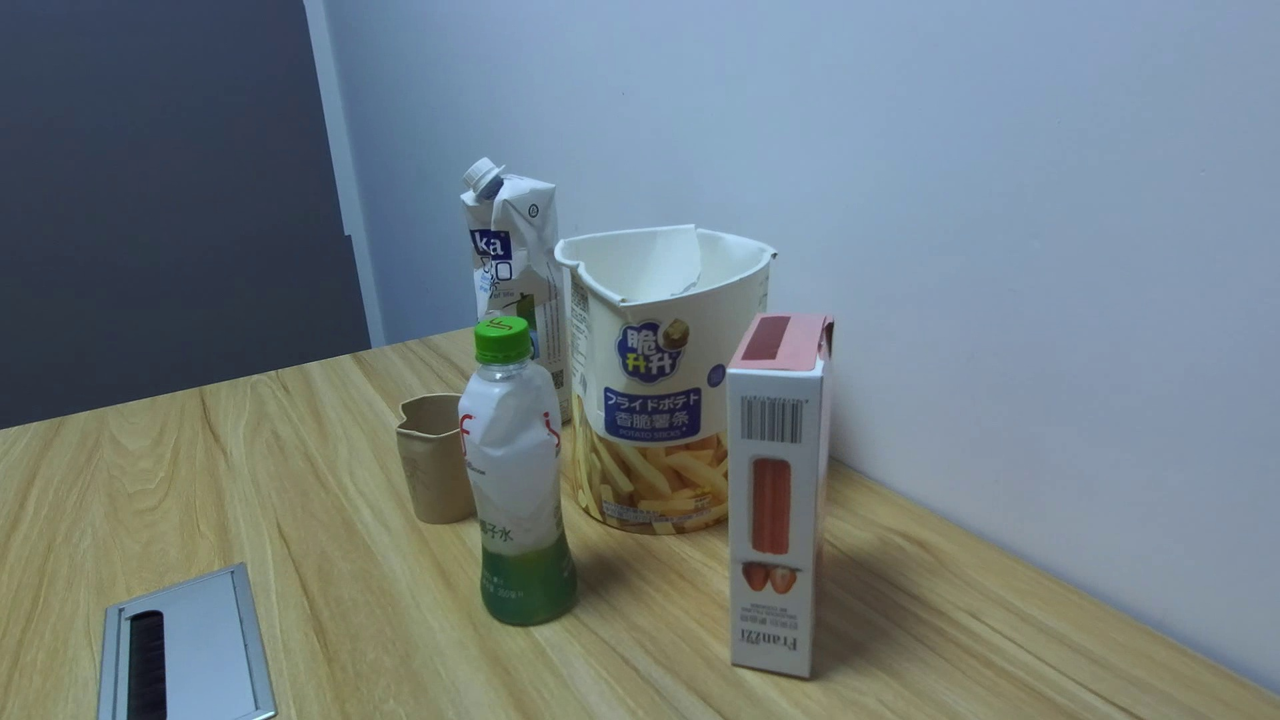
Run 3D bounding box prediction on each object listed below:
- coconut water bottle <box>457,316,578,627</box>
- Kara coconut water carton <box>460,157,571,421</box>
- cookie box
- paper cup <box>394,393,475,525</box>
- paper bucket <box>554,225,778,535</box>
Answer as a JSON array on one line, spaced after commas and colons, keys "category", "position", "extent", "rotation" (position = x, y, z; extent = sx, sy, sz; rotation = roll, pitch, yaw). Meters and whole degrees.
[{"category": "coconut water bottle", "position": [-0.075, 0.067, 0.430], "extent": [0.069, 0.186, 0.069], "rotation": [-3, 23, 1]}, {"category": "Kara coconut water carton", "position": [-0.114, -0.058, 0.658], "extent": [0.079, 0.255, 0.083], "rotation": [-18, 26, -32]}, {"category": "cookie box", "position": [0.083, 0.071, 0.406], "extent": [0.048, 0.187, 0.105], "rotation": [4, 22, 17]}, {"category": "paper cup", "position": [-0.154, 0.079, 0.557], "extent": [0.073, 0.081, 0.069], "rotation": [7, 22, 20]}, {"category": "paper bucket", "position": [0.017, 0.009, 0.550], "extent": [0.146, 0.197, 0.202], "rotation": [-10, 23, -20]}]
